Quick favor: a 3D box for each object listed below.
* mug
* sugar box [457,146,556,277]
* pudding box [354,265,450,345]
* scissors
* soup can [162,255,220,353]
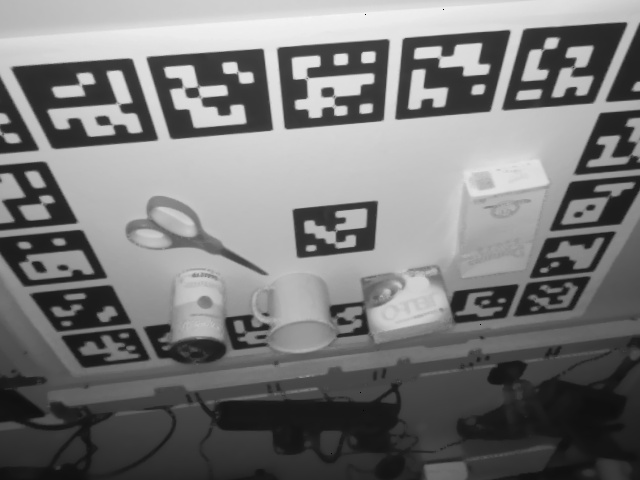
[{"bbox_3d":[-0.044,0.093,0.899,0.092,0.082,0.118,-32,135,21],"label":"mug"},{"bbox_3d":[0.221,-0.029,0.842,0.093,0.045,0.175,-9,138,-3],"label":"sugar box"},{"bbox_3d":[0.106,0.085,0.907,0.114,0.090,0.038,-11,132,3],"label":"pudding box"},{"bbox_3d":[-0.141,-0.011,0.811,0.087,0.016,0.204,-42,129,19],"label":"scissors"},{"bbox_3d":[-0.159,0.078,0.858,0.068,0.102,0.067,-6,140,-4],"label":"soup can"}]
